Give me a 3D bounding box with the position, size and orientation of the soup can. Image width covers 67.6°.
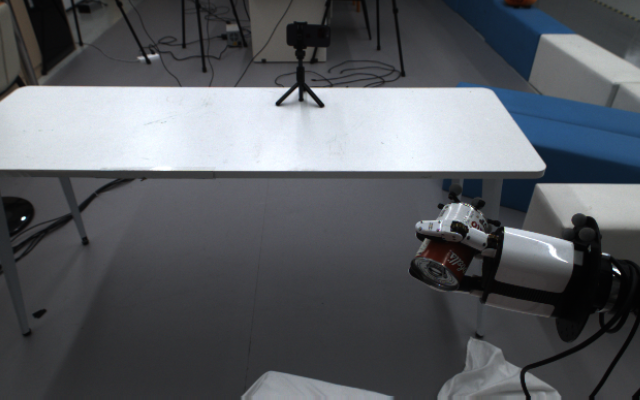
[{"bbox_3d":[0.175,0.059,0.644,0.067,0.067,0.101,23,61,27],"label":"soup can"}]
